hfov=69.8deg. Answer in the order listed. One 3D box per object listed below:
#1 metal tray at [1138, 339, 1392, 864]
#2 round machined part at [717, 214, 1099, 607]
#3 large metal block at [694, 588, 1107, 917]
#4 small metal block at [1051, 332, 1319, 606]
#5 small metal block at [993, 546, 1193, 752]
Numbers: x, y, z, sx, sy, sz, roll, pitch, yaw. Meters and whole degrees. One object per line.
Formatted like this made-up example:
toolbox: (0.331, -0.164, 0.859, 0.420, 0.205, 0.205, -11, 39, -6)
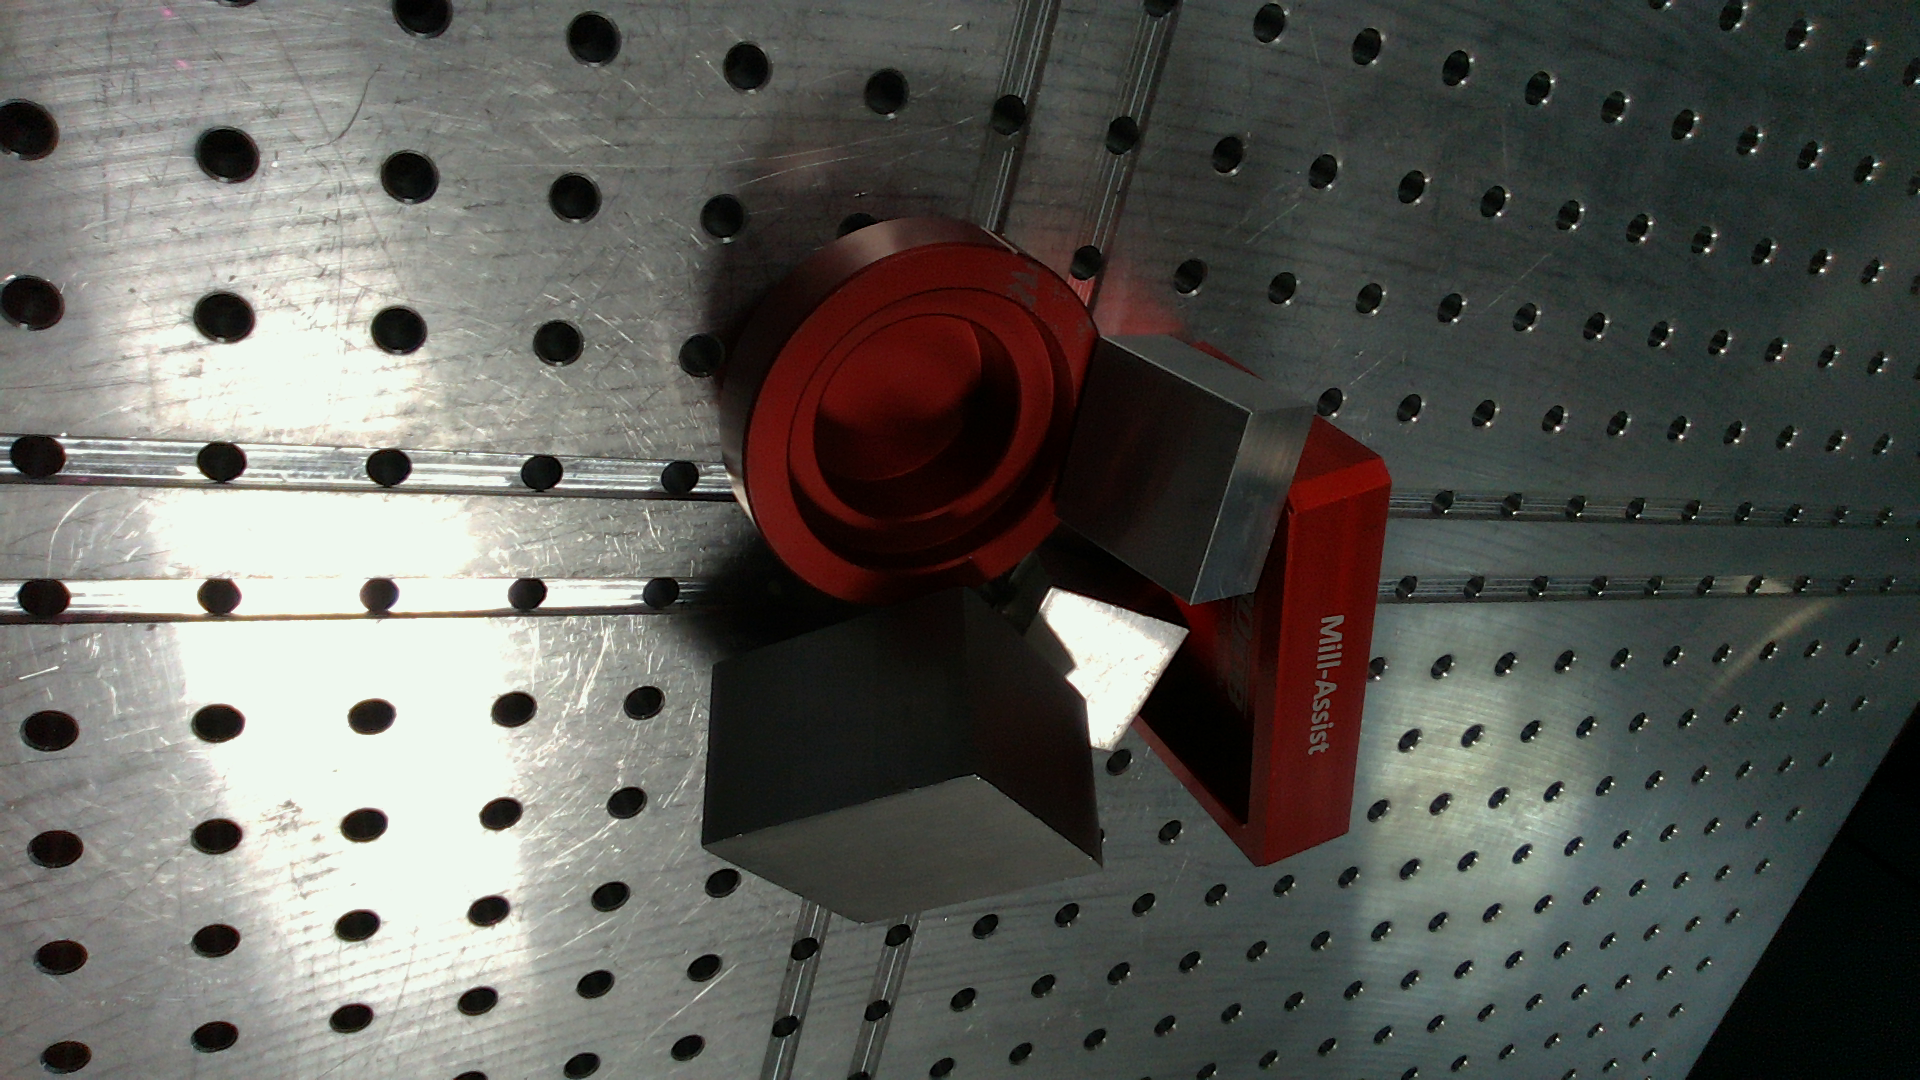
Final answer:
metal tray: (0.079, 0.018, 0.404, 0.030, 0.090, 0.130, -17, 125, -19)
round machined part: (-0.015, -0.035, 0.351, 0.098, 0.042, 0.098, -14, 124, -21)
large metal block: (-0.015, 0.063, 0.377, 0.080, 0.050, 0.080, -18, 145, 22)
small metal block: (0.054, -0.019, 0.341, 0.025, 0.050, 0.050, -9, 122, -40)
small metal block: (0.035, 0.033, 0.425, 0.050, 0.025, 0.050, 17, 114, -23)
